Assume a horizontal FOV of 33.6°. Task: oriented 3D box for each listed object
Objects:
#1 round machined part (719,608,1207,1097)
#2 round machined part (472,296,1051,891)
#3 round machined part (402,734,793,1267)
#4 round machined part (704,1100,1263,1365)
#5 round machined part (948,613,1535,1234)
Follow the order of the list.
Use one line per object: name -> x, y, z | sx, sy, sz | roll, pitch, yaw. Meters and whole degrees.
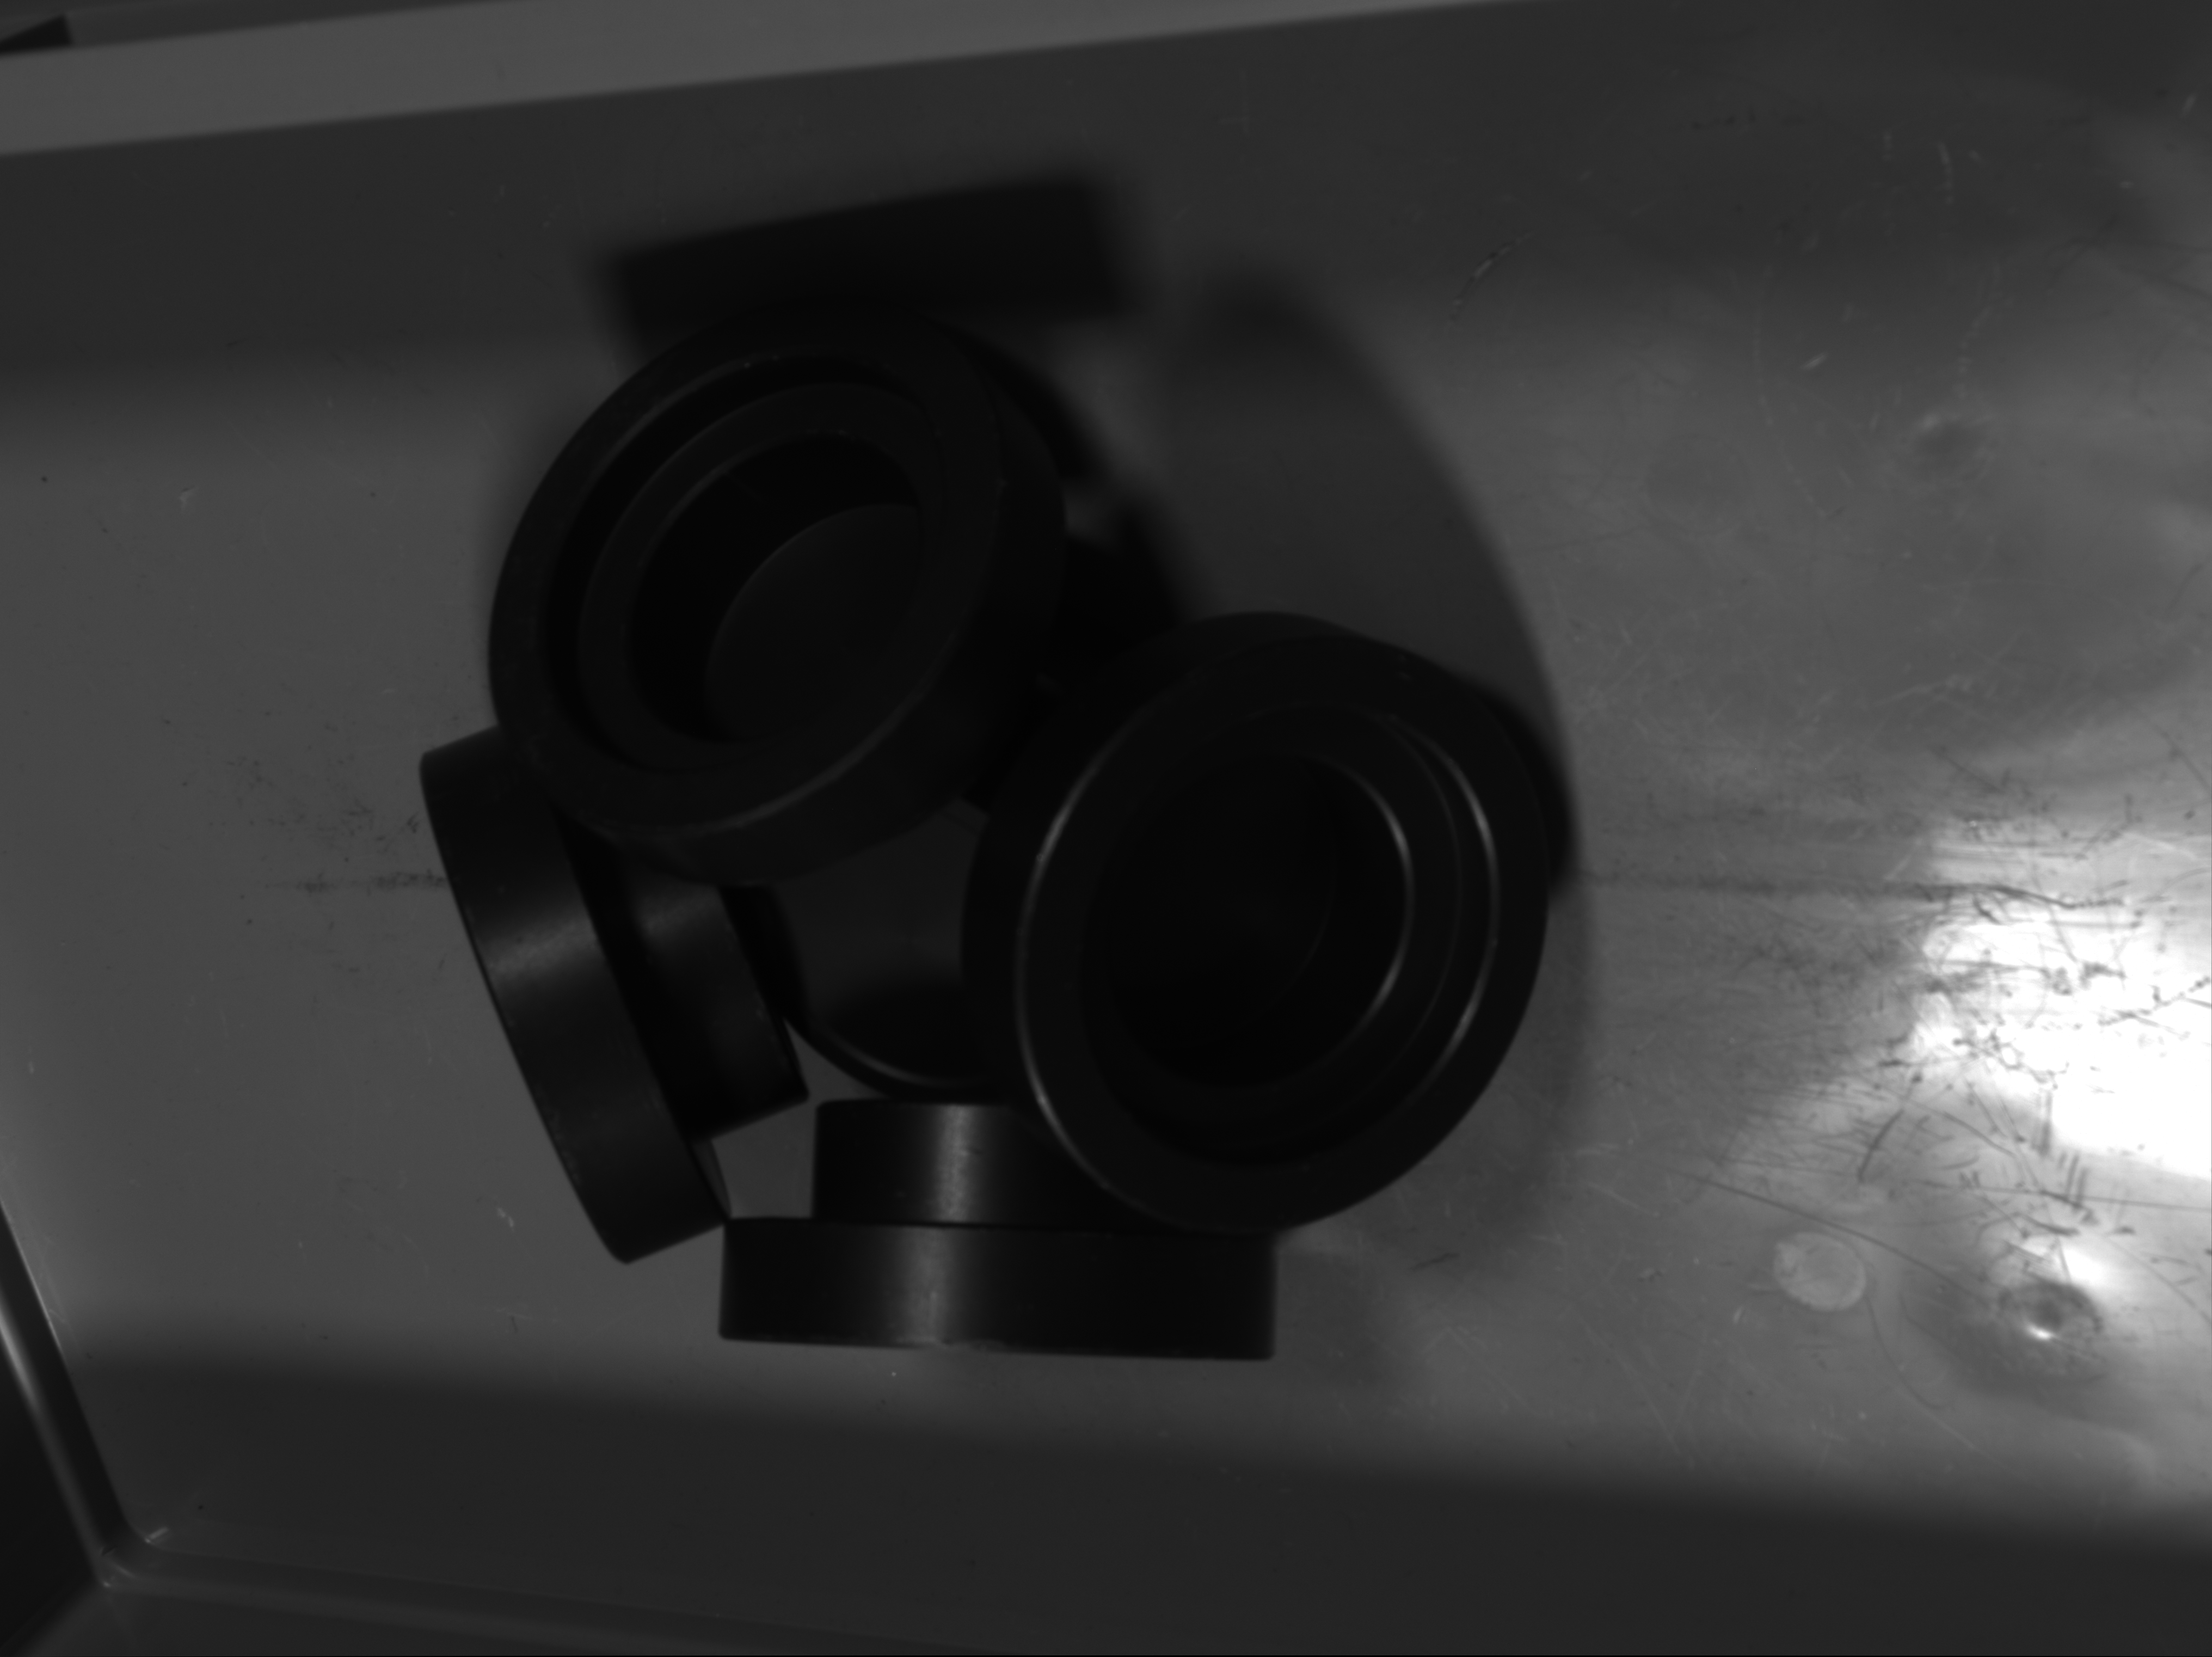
round machined part -> -0.028, 0.010, 0.638 | 0.098, 0.042, 0.098 | 12, 123, 20
round machined part -> -0.052, -0.034, 0.600 | 0.098, 0.098, 0.042 | -4, 154, 28
round machined part -> -0.088, 0.026, 0.655 | 0.042, 0.098, 0.098 | -21, 112, -5
round machined part -> -0.021, 0.072, 0.648 | 0.098, 0.098, 0.042 | -1, 81, 27
round machined part -> 0.018, 0.013, 0.595 | 0.042, 0.098, 0.098 | 27, 138, 57
